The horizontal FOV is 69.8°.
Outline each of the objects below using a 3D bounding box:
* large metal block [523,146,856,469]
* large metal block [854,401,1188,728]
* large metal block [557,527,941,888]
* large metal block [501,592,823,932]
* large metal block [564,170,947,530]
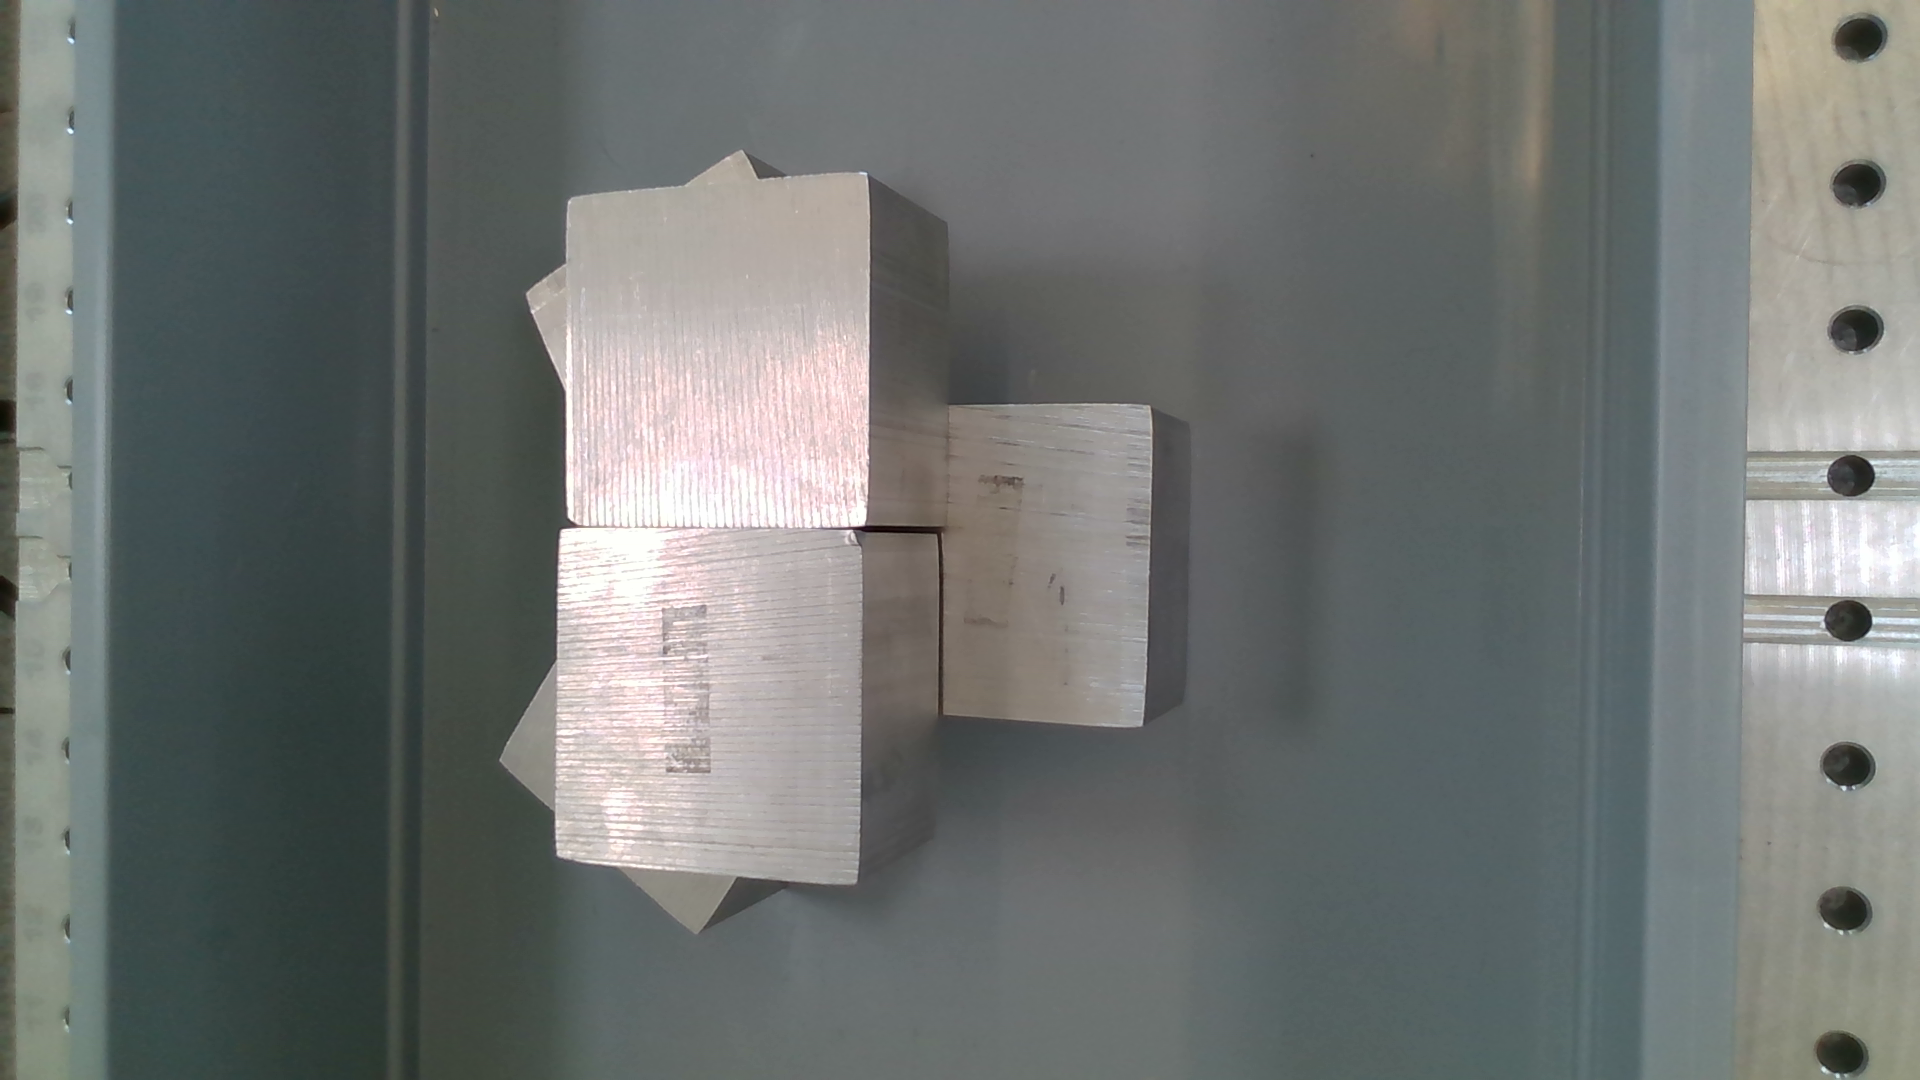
[{"bbox_3d":[-0.068,-0.053,0.404,0.080,0.050,0.080,-28,81,18],"label":"large metal block"},{"bbox_3d":[0.017,0.005,0.373,0.080,0.050,0.080,2,91,20],"label":"large metal block"},{"bbox_3d":[-0.052,0.037,0.344,0.080,0.050,0.080,1,91,20],"label":"large metal block"},{"bbox_3d":[-0.073,0.053,0.405,0.080,0.050,0.080,36,101,16],"label":"large metal block"},{"bbox_3d":[-0.050,-0.043,0.344,0.080,0.050,0.080,1,91,20],"label":"large metal block"}]
